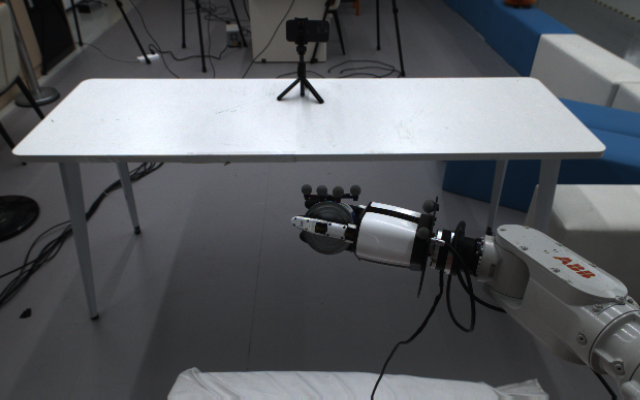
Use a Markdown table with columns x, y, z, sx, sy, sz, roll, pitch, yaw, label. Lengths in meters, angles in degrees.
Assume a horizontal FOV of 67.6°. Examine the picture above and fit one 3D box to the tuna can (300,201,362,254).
| x | y | z | sx | sy | sz | roll | pitch | yaw | label |
| --- | --- | --- | --- | --- | --- | --- | --- | --- | --- |
| 0.018 | 0.043 | 0.771 | 0.085 | 0.085 | 0.034 | 12 | 8 | 14 | tuna can |
